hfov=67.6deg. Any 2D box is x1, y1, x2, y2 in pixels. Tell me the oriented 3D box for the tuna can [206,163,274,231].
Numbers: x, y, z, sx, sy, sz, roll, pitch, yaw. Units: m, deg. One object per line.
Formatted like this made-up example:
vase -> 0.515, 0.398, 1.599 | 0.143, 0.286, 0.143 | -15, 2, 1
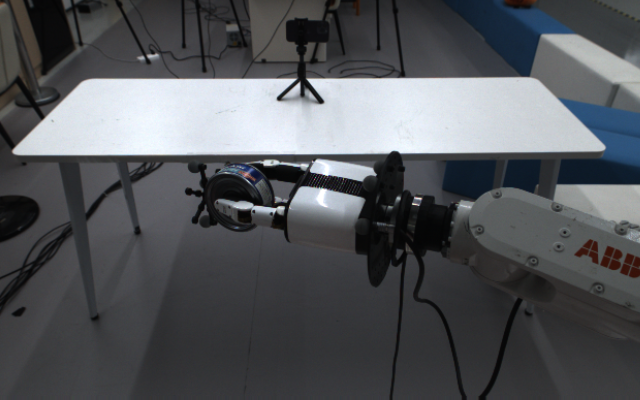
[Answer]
tuna can -> -0.102, -0.005, 0.621 | 0.085, 0.085, 0.034 | 12, 28, 14
